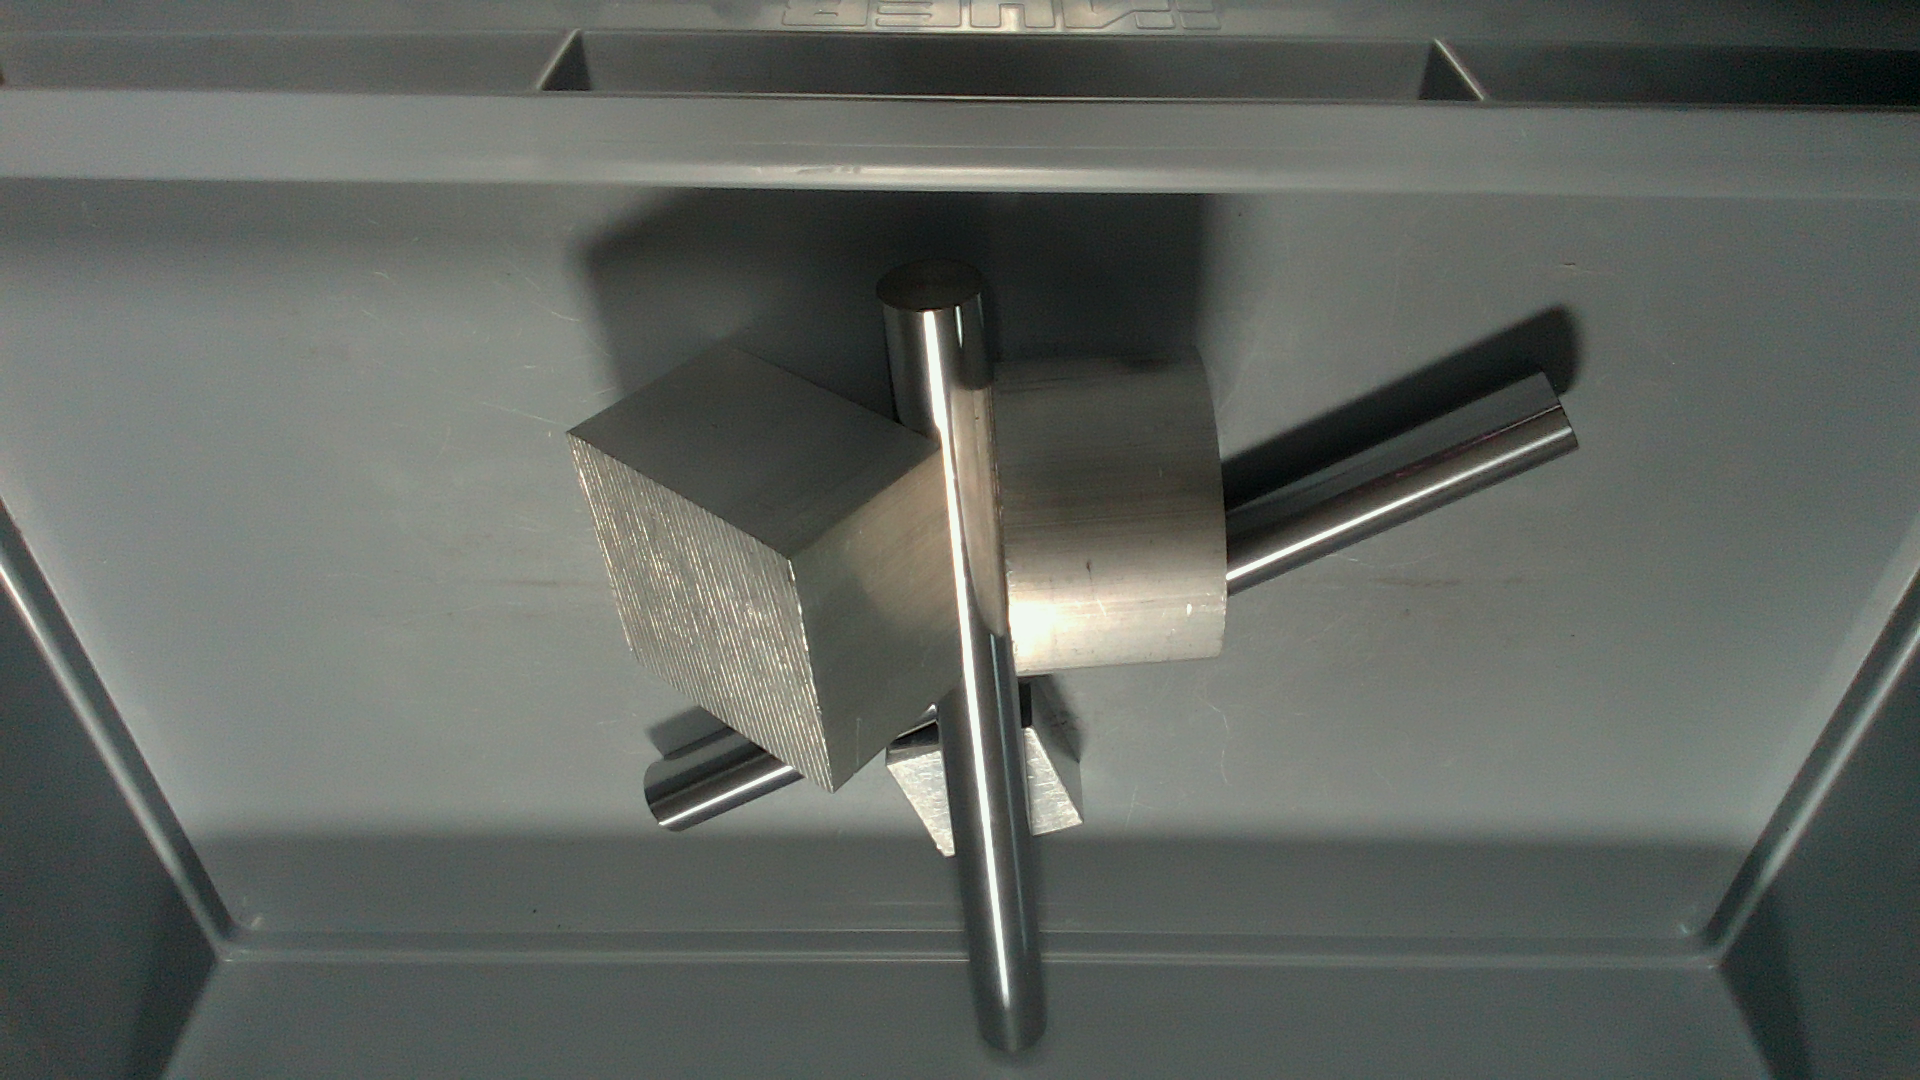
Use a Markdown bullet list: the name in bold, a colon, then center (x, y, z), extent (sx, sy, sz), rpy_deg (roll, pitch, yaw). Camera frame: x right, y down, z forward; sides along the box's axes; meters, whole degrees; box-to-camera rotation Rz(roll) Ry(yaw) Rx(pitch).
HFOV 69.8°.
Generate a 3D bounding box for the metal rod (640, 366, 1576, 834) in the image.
- **metal rod**: center (0.029, 0.026, 0.410), extent (0.299, 0.025, 0.025), rpy_deg (-25, 126, 20)

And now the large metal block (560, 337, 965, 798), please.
- **large metal block**: center (-0.048, 0.006, 0.352), extent (0.080, 0.050, 0.080), rpy_deg (27, 139, 32)

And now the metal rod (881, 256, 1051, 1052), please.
- **metal rod**: center (0.008, 0.058, 0.404), extent (0.025, 0.025, 0.300), rpy_deg (-4, 129, 3)

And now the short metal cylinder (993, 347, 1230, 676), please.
- **short metal cylinder**: center (0.036, -0.007, 0.346), extent (0.050, 0.080, 0.080), rpy_deg (-4, 130, 2)

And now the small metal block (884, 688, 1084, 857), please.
- **small metal block**: center (0.008, 0.074, 0.452), extent (0.050, 0.025, 0.050), rpy_deg (-17, 128, 13)
